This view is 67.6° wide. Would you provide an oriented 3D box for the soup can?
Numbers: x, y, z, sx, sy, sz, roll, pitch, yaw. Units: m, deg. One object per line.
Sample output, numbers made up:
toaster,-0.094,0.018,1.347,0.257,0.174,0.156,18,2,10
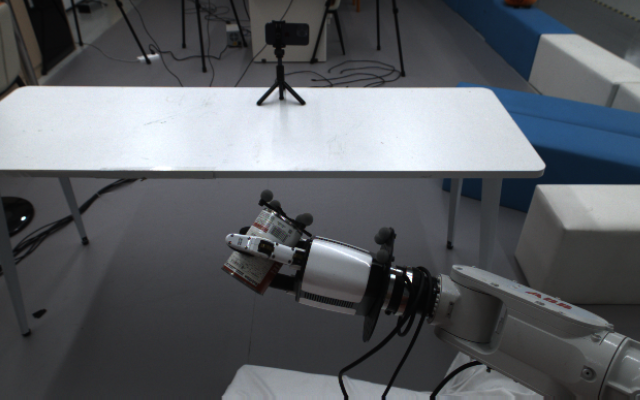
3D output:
soup can,-0.077,0.071,0.663,0.067,0.067,0.101,26,76,30
